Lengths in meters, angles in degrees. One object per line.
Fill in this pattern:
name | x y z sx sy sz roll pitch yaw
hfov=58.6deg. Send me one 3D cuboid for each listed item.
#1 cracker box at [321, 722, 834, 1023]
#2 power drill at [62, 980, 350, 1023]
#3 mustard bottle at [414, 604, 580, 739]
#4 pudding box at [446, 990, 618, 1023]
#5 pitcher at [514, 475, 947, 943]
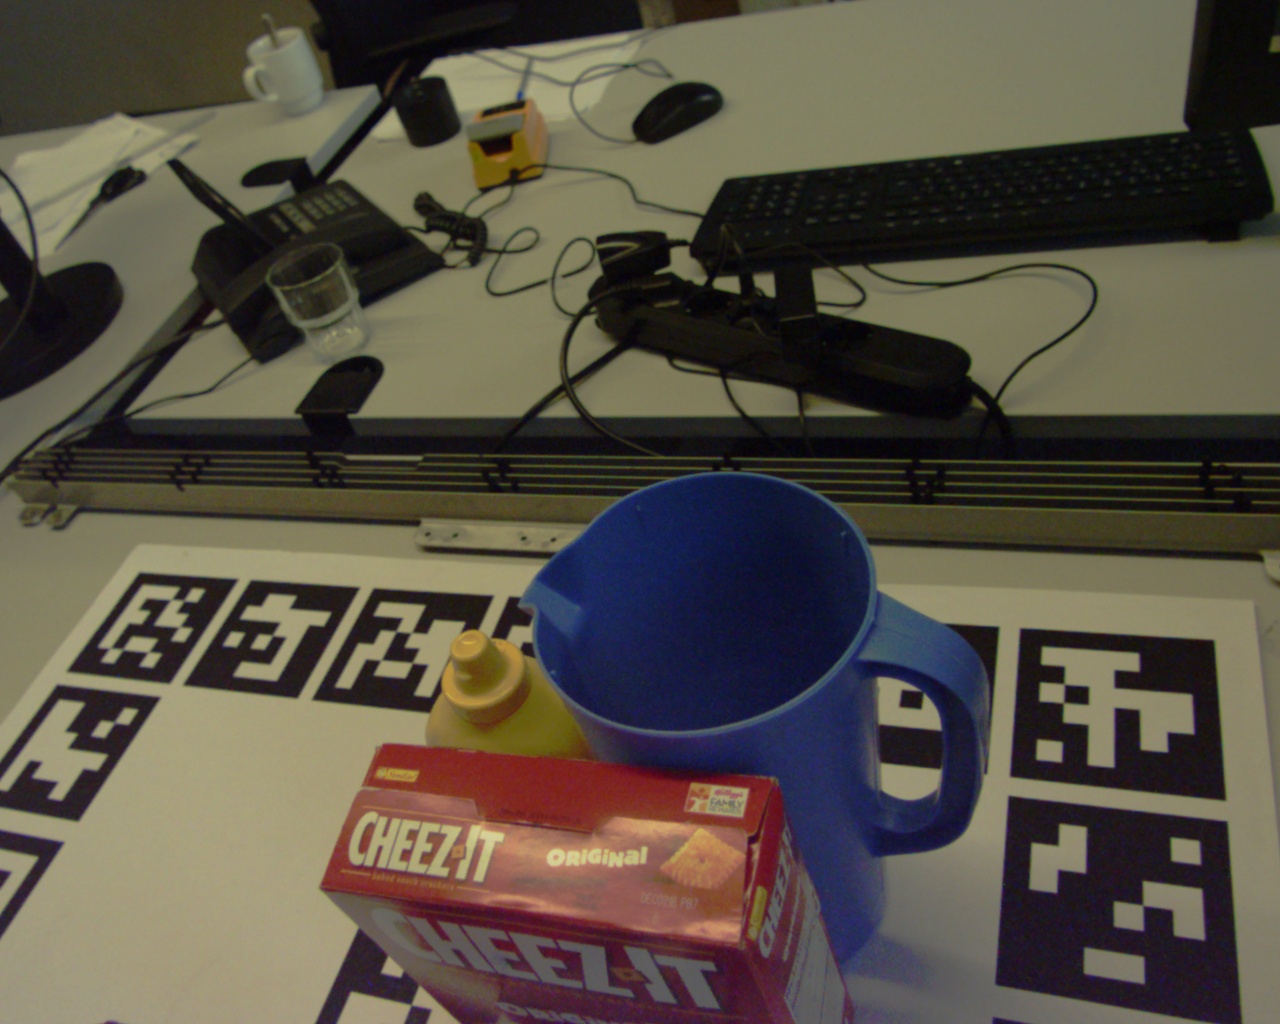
cracker box | -0.017 0.186 0.501 0.166 0.212 0.072 -1 44 23
power drill | -0.116 0.254 0.449 0.186 0.185 0.057 2 44 21
mustard bottle | -0.067 0.113 0.602 0.097 0.190 0.058 14 54 31
pudding box | -0.025 0.258 0.510 0.115 0.089 0.038 1 45 26
pitcher | 0.054 0.110 0.542 0.191 0.240 0.133 6 49 28
